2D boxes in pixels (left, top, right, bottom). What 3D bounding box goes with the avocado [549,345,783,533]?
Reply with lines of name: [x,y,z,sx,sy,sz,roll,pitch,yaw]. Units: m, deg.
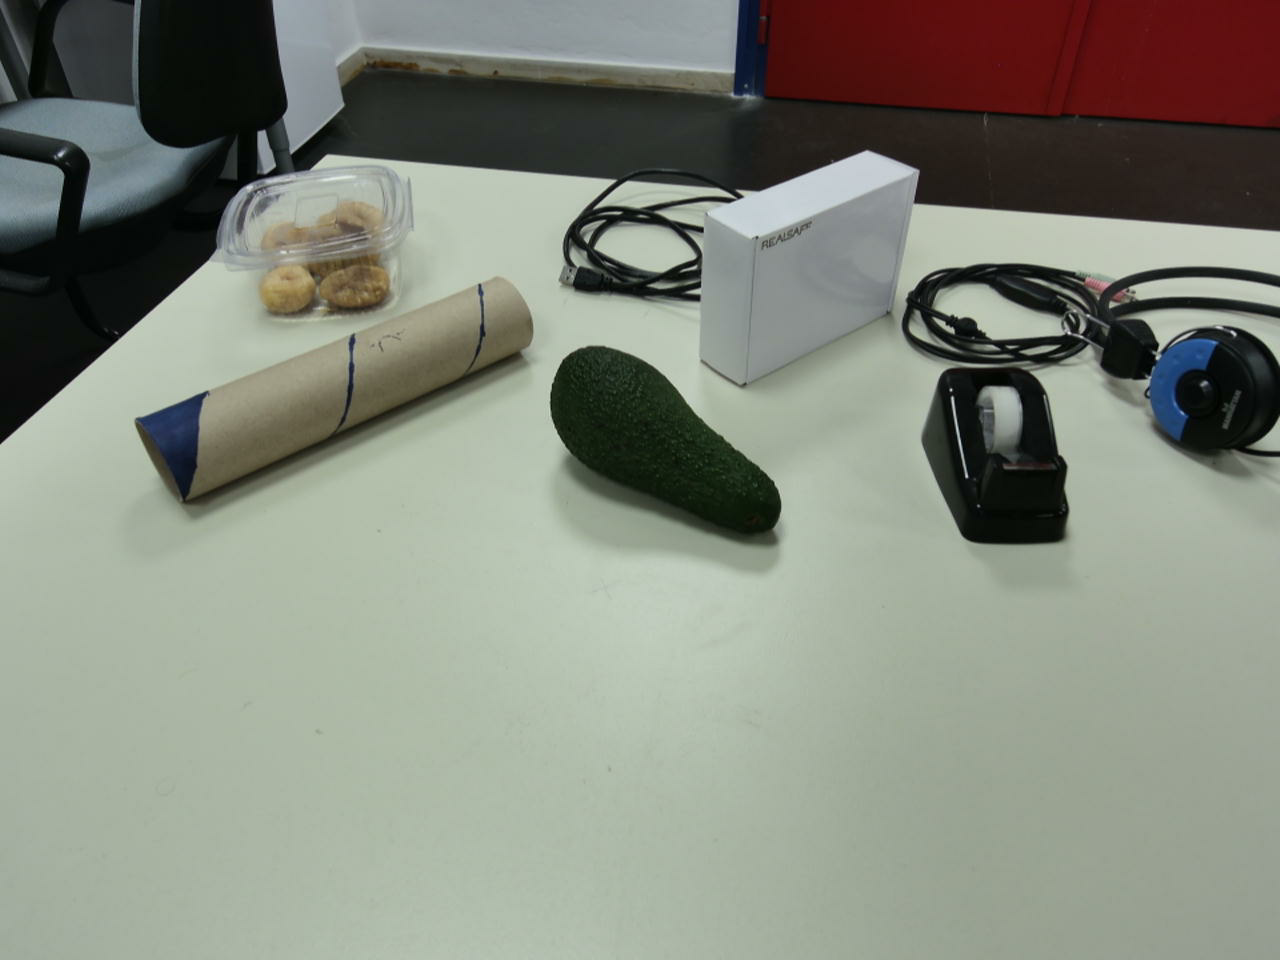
avocado: [0.014,-0.026,0.512,0.141,0.067,0.063,18,42,22]
